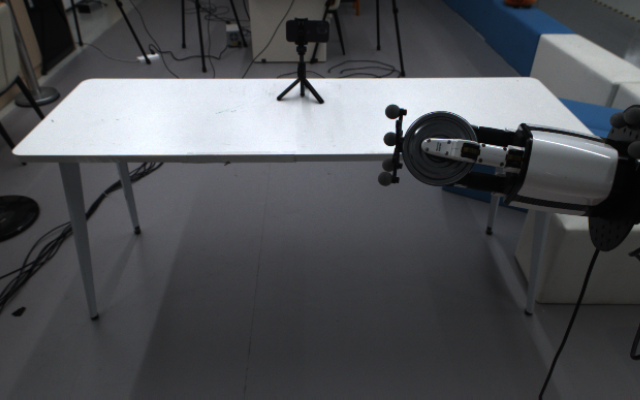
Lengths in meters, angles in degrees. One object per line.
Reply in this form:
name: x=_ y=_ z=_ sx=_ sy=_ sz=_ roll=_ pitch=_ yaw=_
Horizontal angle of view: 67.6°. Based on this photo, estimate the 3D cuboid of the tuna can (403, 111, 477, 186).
tuna can: x=0.141 y=-0.062 z=0.564 sx=0.085 sy=0.085 sz=0.034 roll=10 pitch=1 yaw=11
